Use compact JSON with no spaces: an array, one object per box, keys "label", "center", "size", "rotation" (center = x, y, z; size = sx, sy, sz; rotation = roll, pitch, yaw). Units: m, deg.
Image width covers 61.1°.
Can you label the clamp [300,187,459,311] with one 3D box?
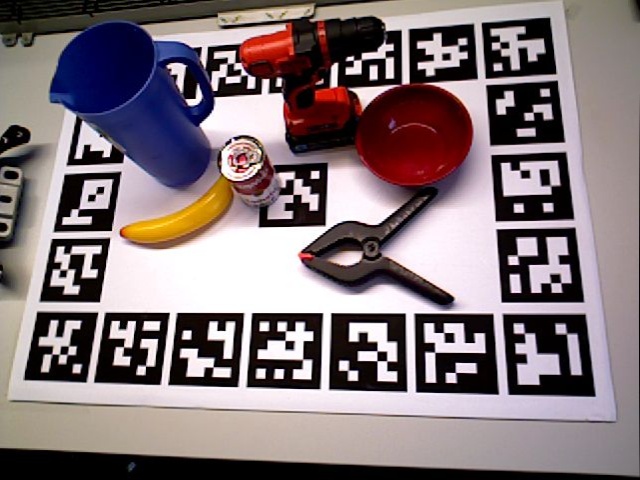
[{"label":"clamp","center":[0.071,0.018,0.717],"size":[0.203,0.037,0.164],"rotation":[-5,76,9]}]

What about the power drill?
[{"label":"power drill","center":[0.009,-0.213,0.707],"size":[0.184,0.188,0.057],"rotation":[-7,70,7]}]

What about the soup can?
[{"label":"soup can","center":[-0.098,-0.094,0.757],"size":[0.068,0.103,0.067],"rotation":[-5,62,8]}]

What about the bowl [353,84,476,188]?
[{"label":"bowl","center":[0.129,-0.136,0.751],"size":[0.162,0.055,0.160],"rotation":[-3,74,10]}]

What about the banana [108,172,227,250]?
[{"label":"banana","center":[-0.215,-0.029,0.794],"size":[0.197,0.039,0.074],"rotation":[-27,61,0]}]

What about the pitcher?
[{"label":"pitcher","center":[-0.228,-0.170,0.728],"size":[0.188,0.244,0.132],"rotation":[-26,66,0]}]
